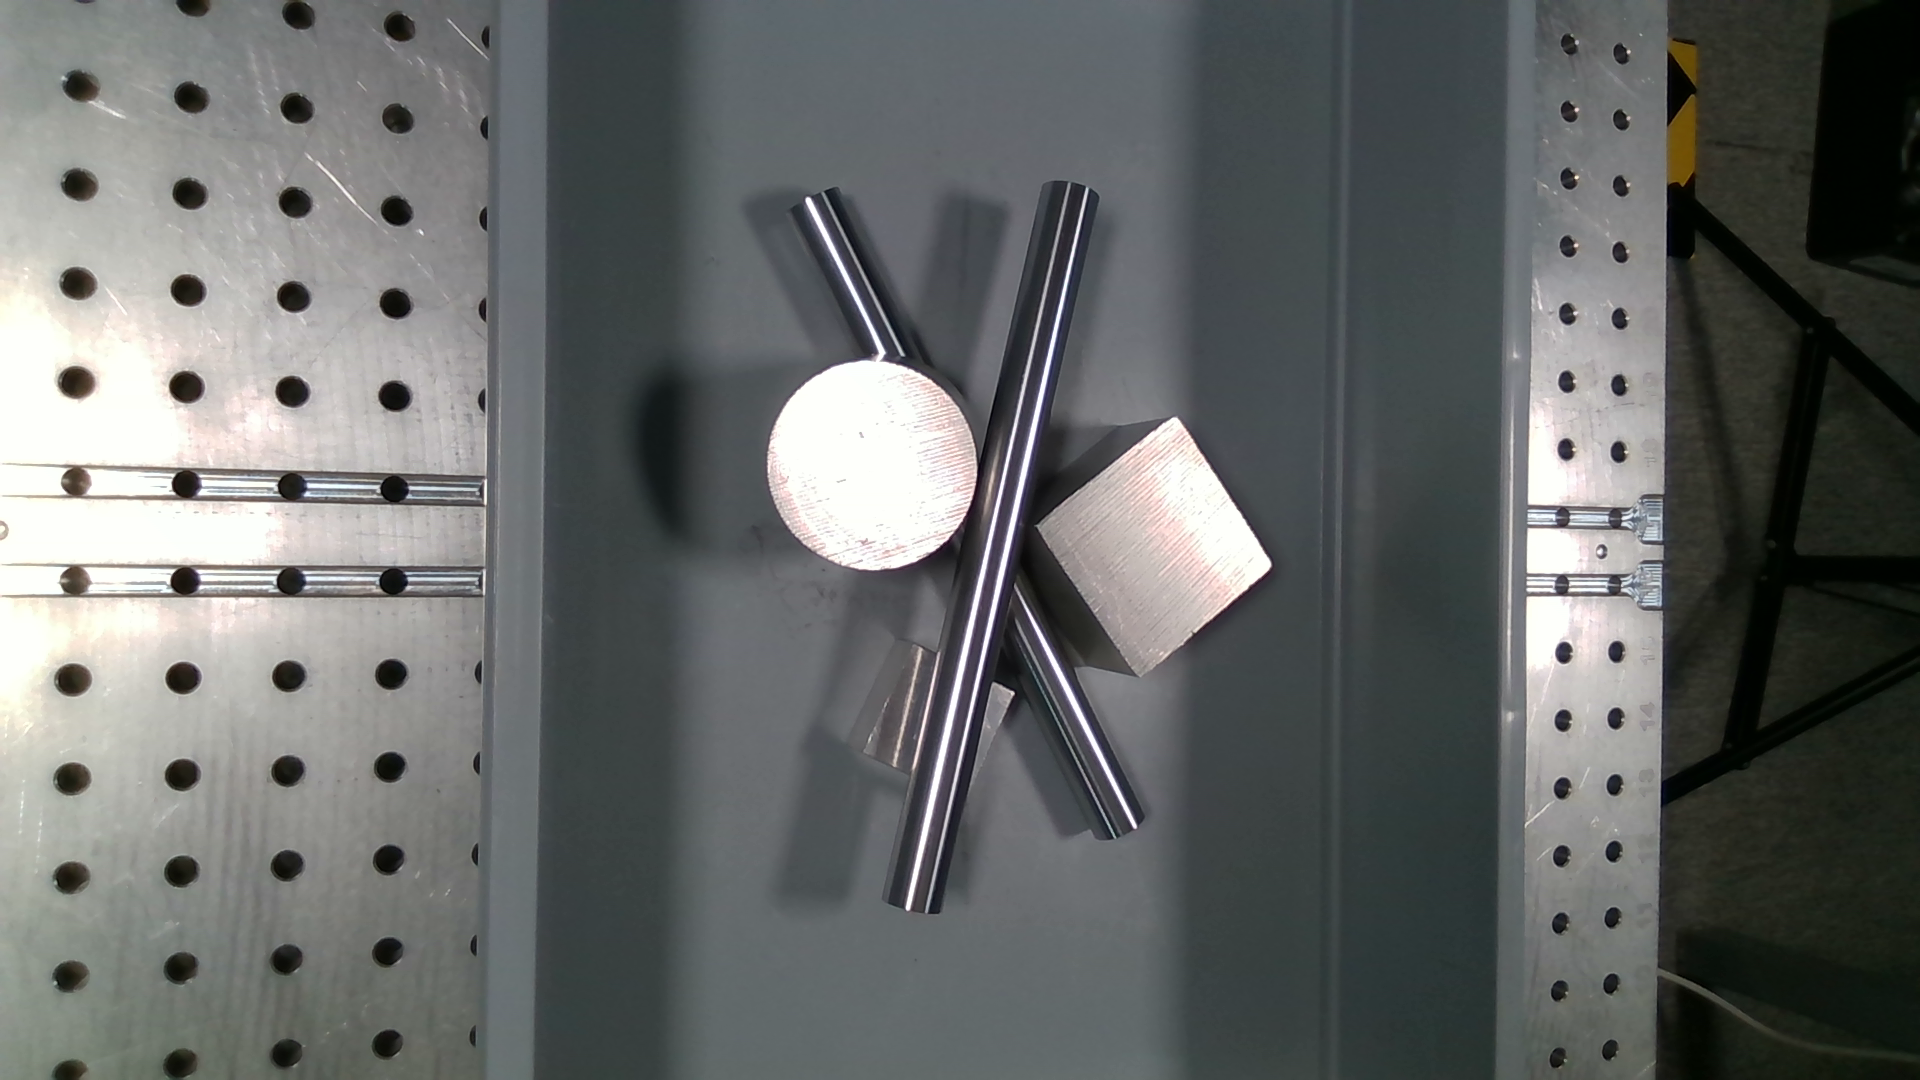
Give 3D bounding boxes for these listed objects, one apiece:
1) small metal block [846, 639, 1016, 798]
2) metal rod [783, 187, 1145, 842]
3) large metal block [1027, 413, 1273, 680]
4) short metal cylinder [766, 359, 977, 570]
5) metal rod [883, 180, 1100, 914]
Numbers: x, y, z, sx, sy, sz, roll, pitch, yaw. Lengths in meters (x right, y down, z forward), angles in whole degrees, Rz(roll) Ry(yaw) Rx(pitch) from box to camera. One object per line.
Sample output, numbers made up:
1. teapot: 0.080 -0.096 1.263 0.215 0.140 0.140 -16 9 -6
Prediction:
1. small metal block: -0.012 0.075 0.579 0.050 0.025 0.050 28 81 -18
2. metal rod: 0.005 -0.005 0.586 0.025 0.025 0.300 -30 100 -18
3. large metal block: 0.074 0.002 0.598 0.080 0.050 0.080 -38 102 -16
4. short metal cylinder: -0.033 -0.032 0.544 0.080 0.050 0.080 0 101 1
5. metal rod: 0.013 0.001 0.563 0.025 0.025 0.300 14 85 -20
